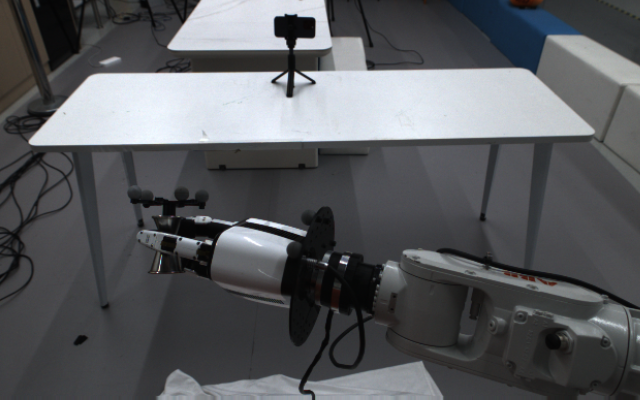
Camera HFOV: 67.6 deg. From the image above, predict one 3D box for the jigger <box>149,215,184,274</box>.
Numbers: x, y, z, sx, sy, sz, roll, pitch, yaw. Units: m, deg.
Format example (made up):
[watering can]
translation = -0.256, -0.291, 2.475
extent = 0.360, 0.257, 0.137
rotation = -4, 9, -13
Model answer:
[jigger]
translation = -0.185, 0.055, 0.587
extent = 0.043, 0.071, 0.043
rotation = 0, -5, 0
